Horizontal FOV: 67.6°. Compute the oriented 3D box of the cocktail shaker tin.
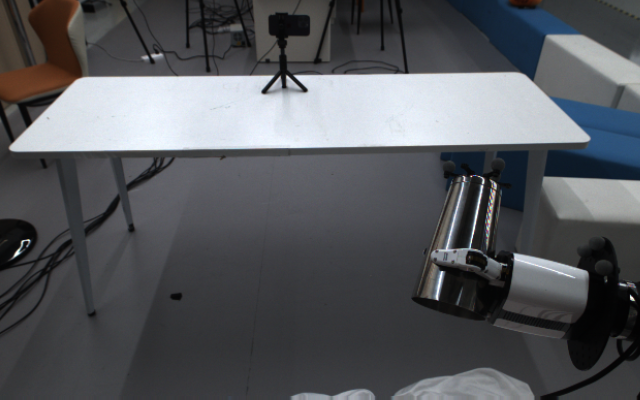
[{"bbox_3d":[0.183,0.059,0.624,0.093,0.093,0.170,14,73,16],"label":"cocktail shaker tin"}]
